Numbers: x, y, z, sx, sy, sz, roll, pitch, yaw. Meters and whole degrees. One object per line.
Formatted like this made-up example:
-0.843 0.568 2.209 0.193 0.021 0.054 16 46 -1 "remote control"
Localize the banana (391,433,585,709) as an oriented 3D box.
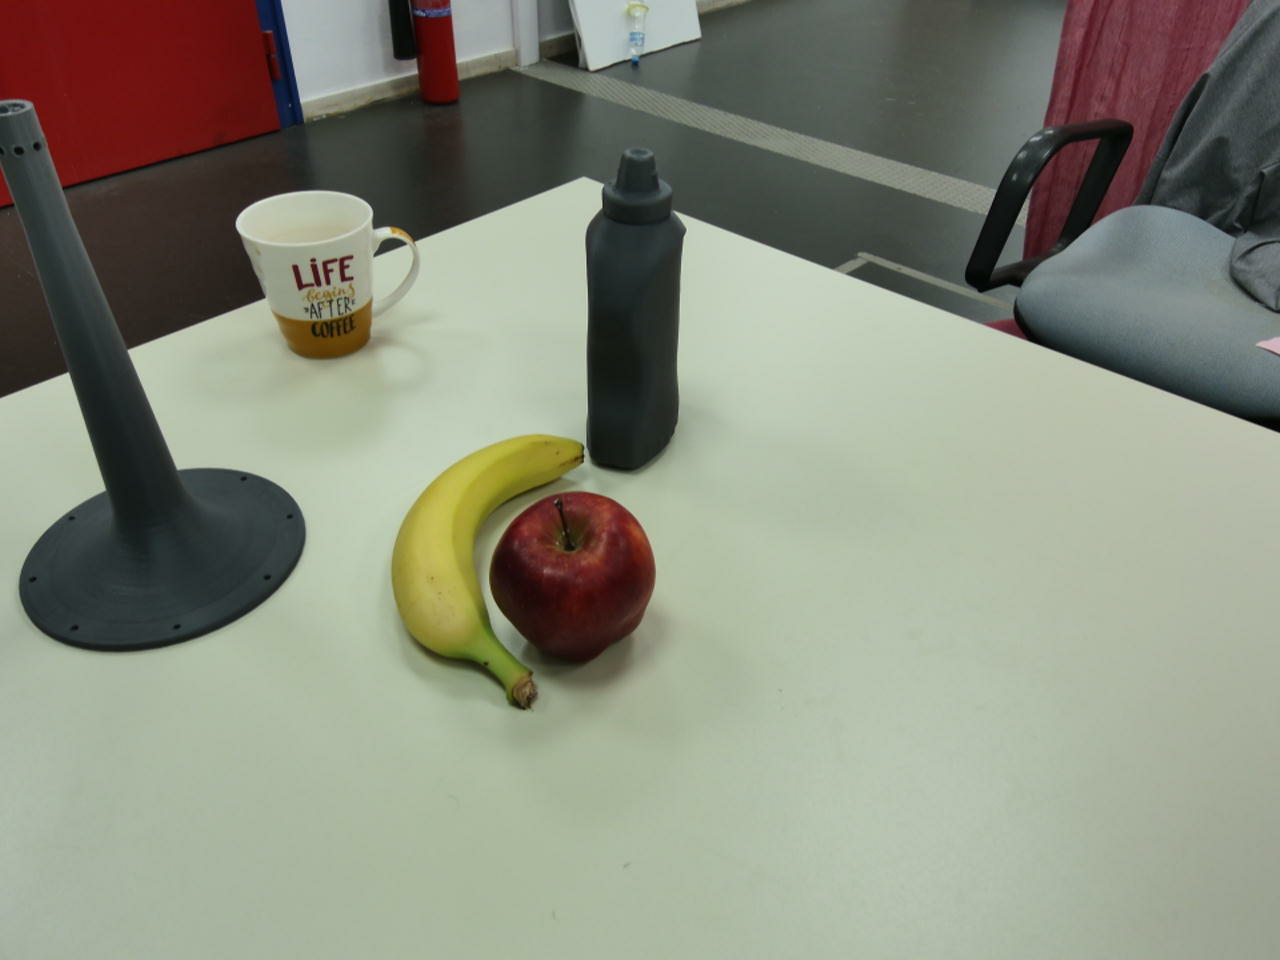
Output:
-0.089 0.036 0.562 0.094 0.041 0.196 4 37 4 "banana"
